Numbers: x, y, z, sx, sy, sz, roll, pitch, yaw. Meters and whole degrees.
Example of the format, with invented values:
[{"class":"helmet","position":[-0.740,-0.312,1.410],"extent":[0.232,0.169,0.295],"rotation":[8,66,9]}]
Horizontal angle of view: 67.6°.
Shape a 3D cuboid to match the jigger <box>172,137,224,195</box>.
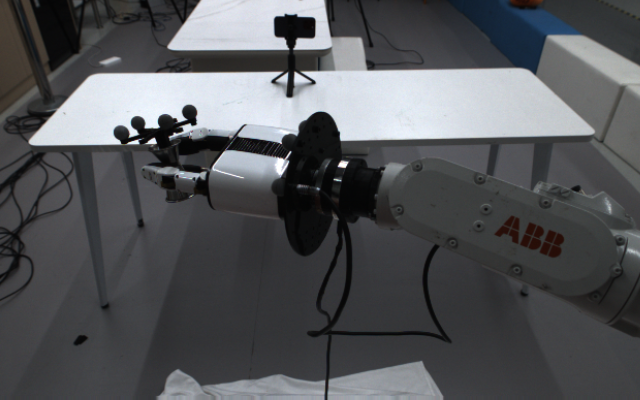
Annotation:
[{"class":"jigger","position":[-0.178,-0.036,0.595],"extent":[0.043,0.071,0.043],"rotation":[-12,25,5]}]
